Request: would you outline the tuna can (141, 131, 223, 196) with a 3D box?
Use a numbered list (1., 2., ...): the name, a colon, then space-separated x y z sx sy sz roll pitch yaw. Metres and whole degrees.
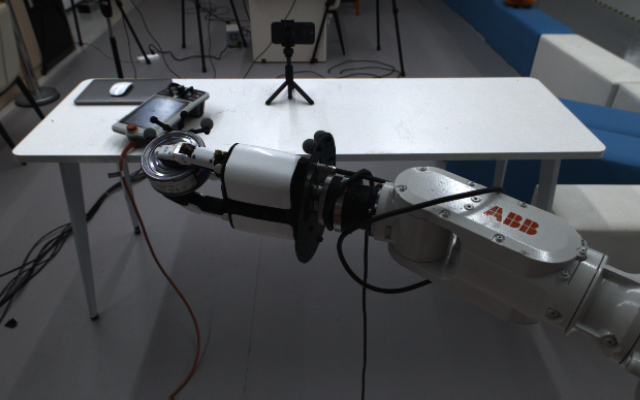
1. tuna can: -0.183 -0.043 0.628 0.085 0.034 0.085 -3 58 5
